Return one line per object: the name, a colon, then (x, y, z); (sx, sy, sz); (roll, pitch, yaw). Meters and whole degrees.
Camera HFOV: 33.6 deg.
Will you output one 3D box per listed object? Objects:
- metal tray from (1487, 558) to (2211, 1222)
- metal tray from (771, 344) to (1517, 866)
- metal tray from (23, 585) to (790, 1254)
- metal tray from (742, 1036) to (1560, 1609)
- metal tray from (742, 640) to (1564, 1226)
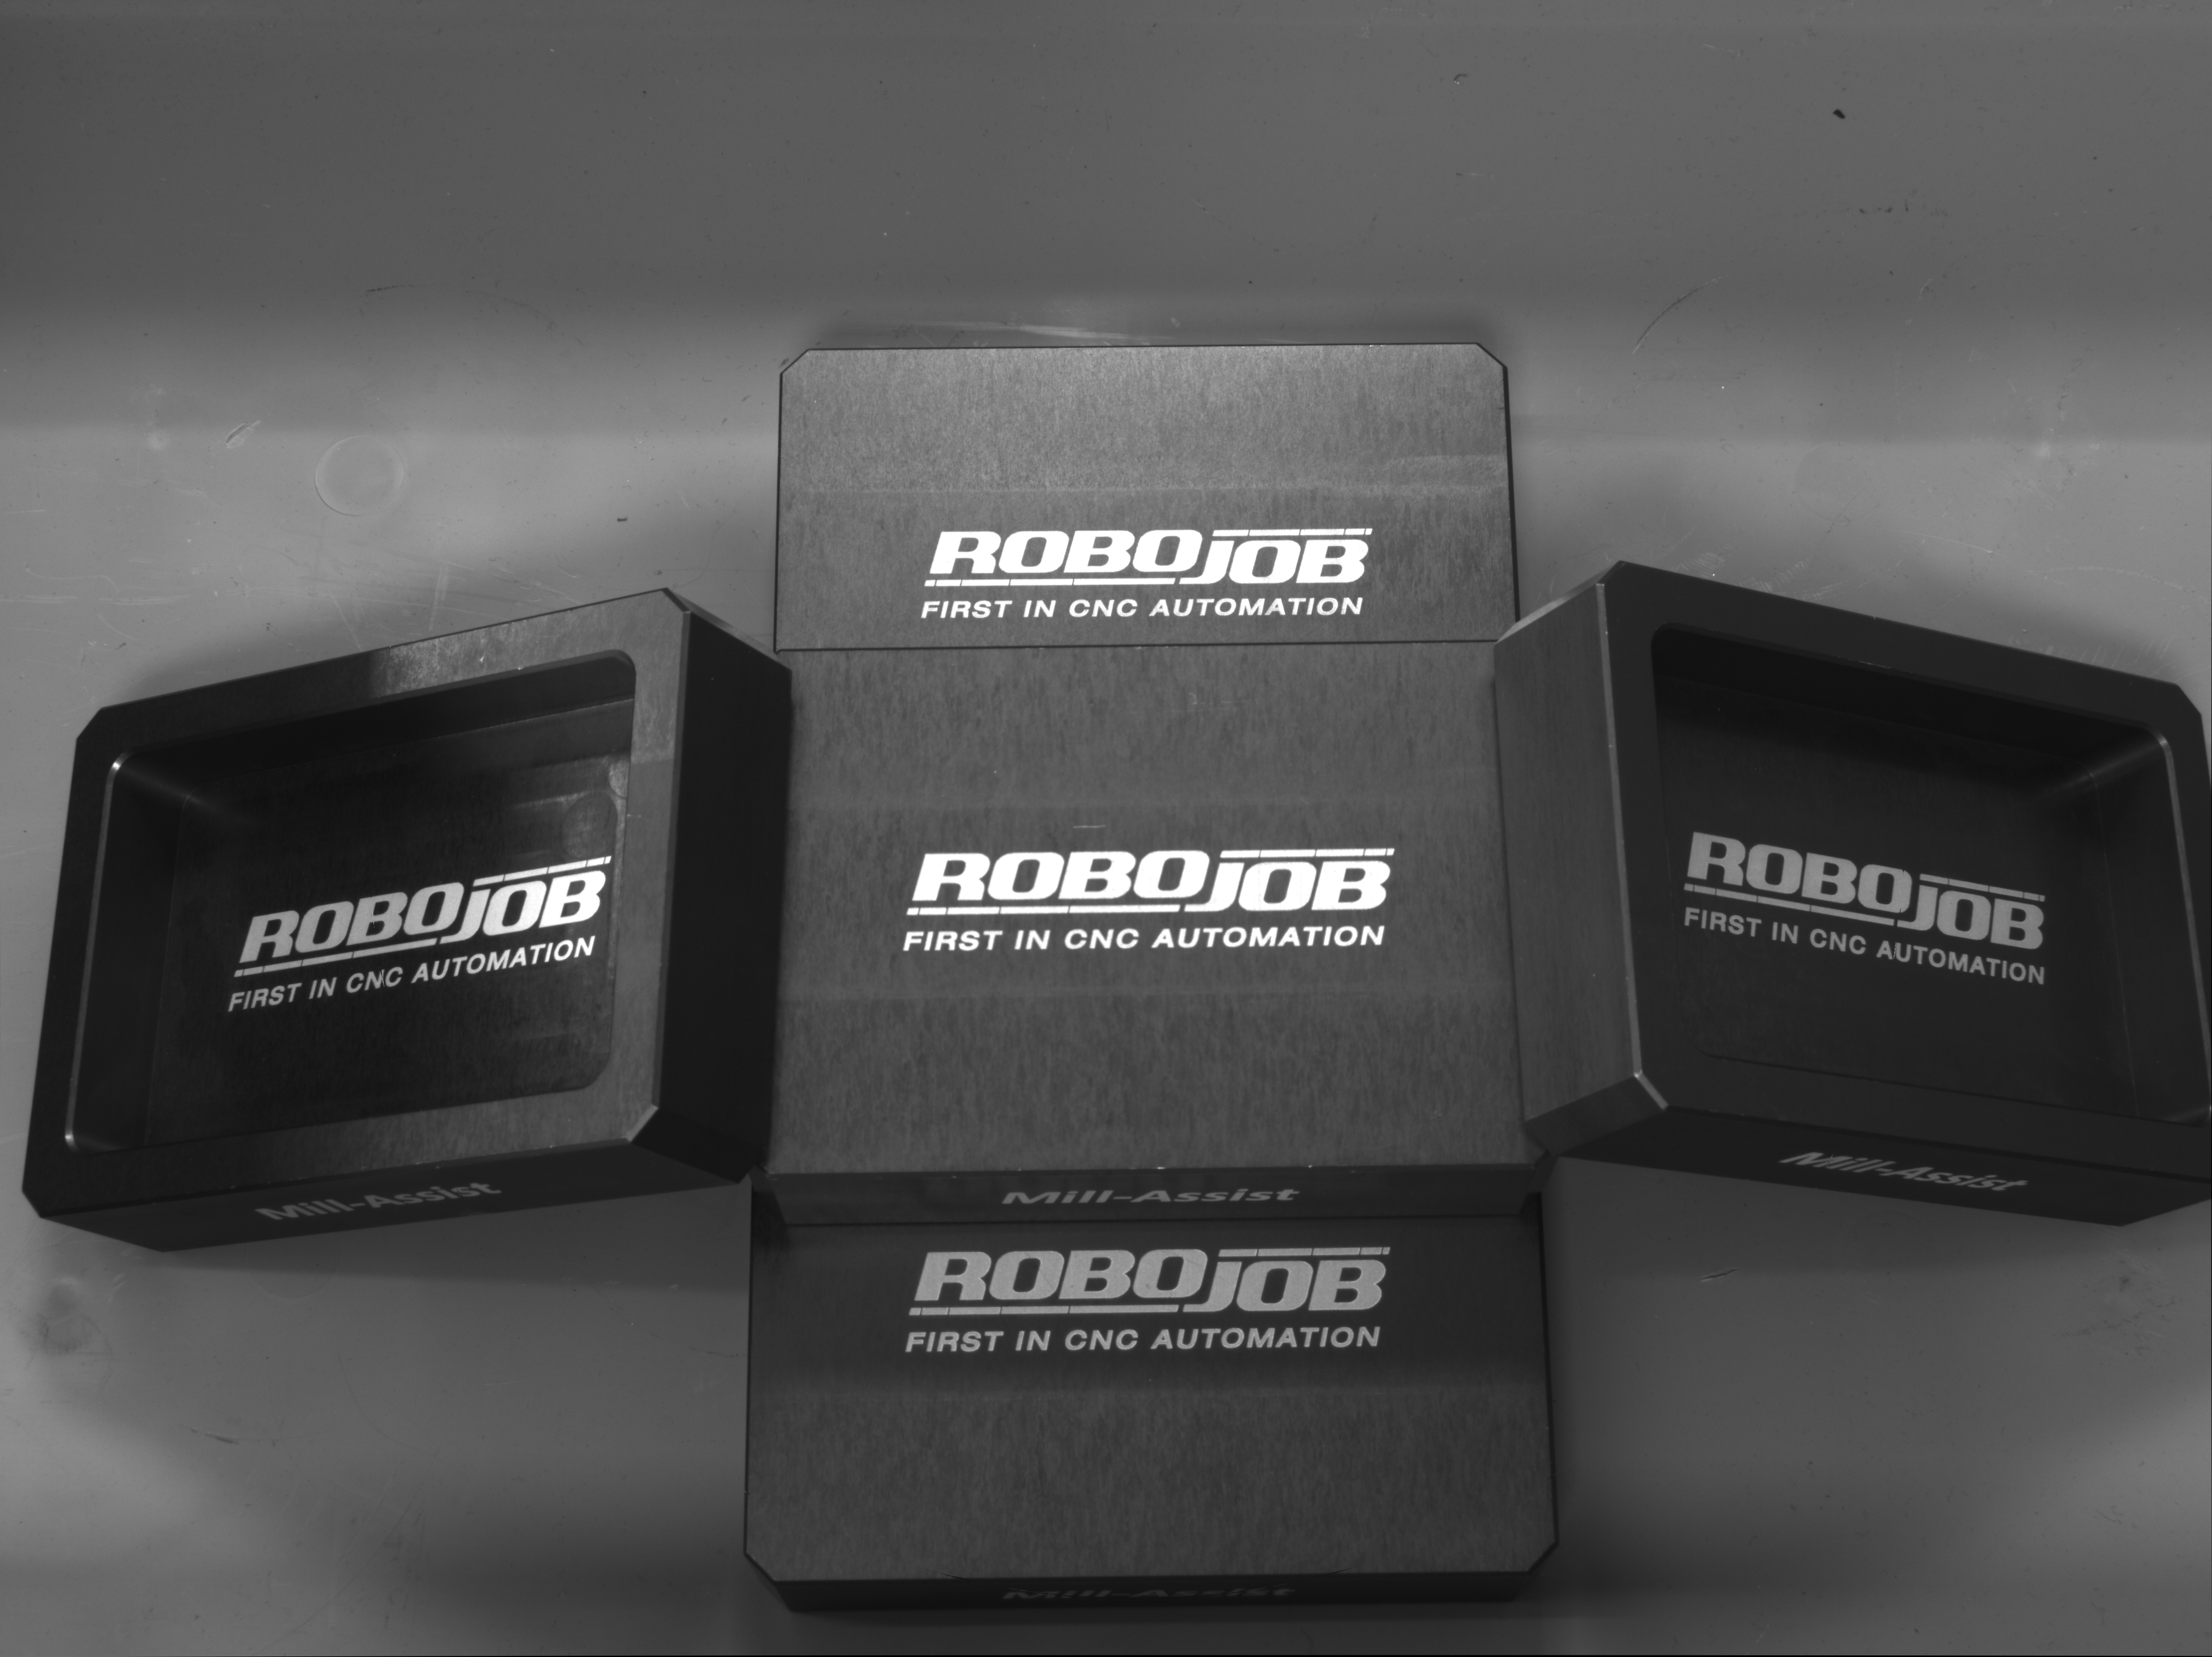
metal tray: (0.127, 0.012, 0.603); (0.130, 0.030, 0.090); (9, 68, -28)
metal tray: (0.007, -0.039, 0.654); (0.130, 0.030, 0.090); (0, 70, 0)
metal tray: (-0.115, 0.017, 0.602); (0.130, 0.030, 0.090); (-10, 68, 28)
metal tray: (0.007, 0.082, 0.609); (0.130, 0.030, 0.090); (0, 70, 0)
metal tray: (0.007, 0.017, 0.603); (0.130, 0.030, 0.090); (-1, 70, -1)
